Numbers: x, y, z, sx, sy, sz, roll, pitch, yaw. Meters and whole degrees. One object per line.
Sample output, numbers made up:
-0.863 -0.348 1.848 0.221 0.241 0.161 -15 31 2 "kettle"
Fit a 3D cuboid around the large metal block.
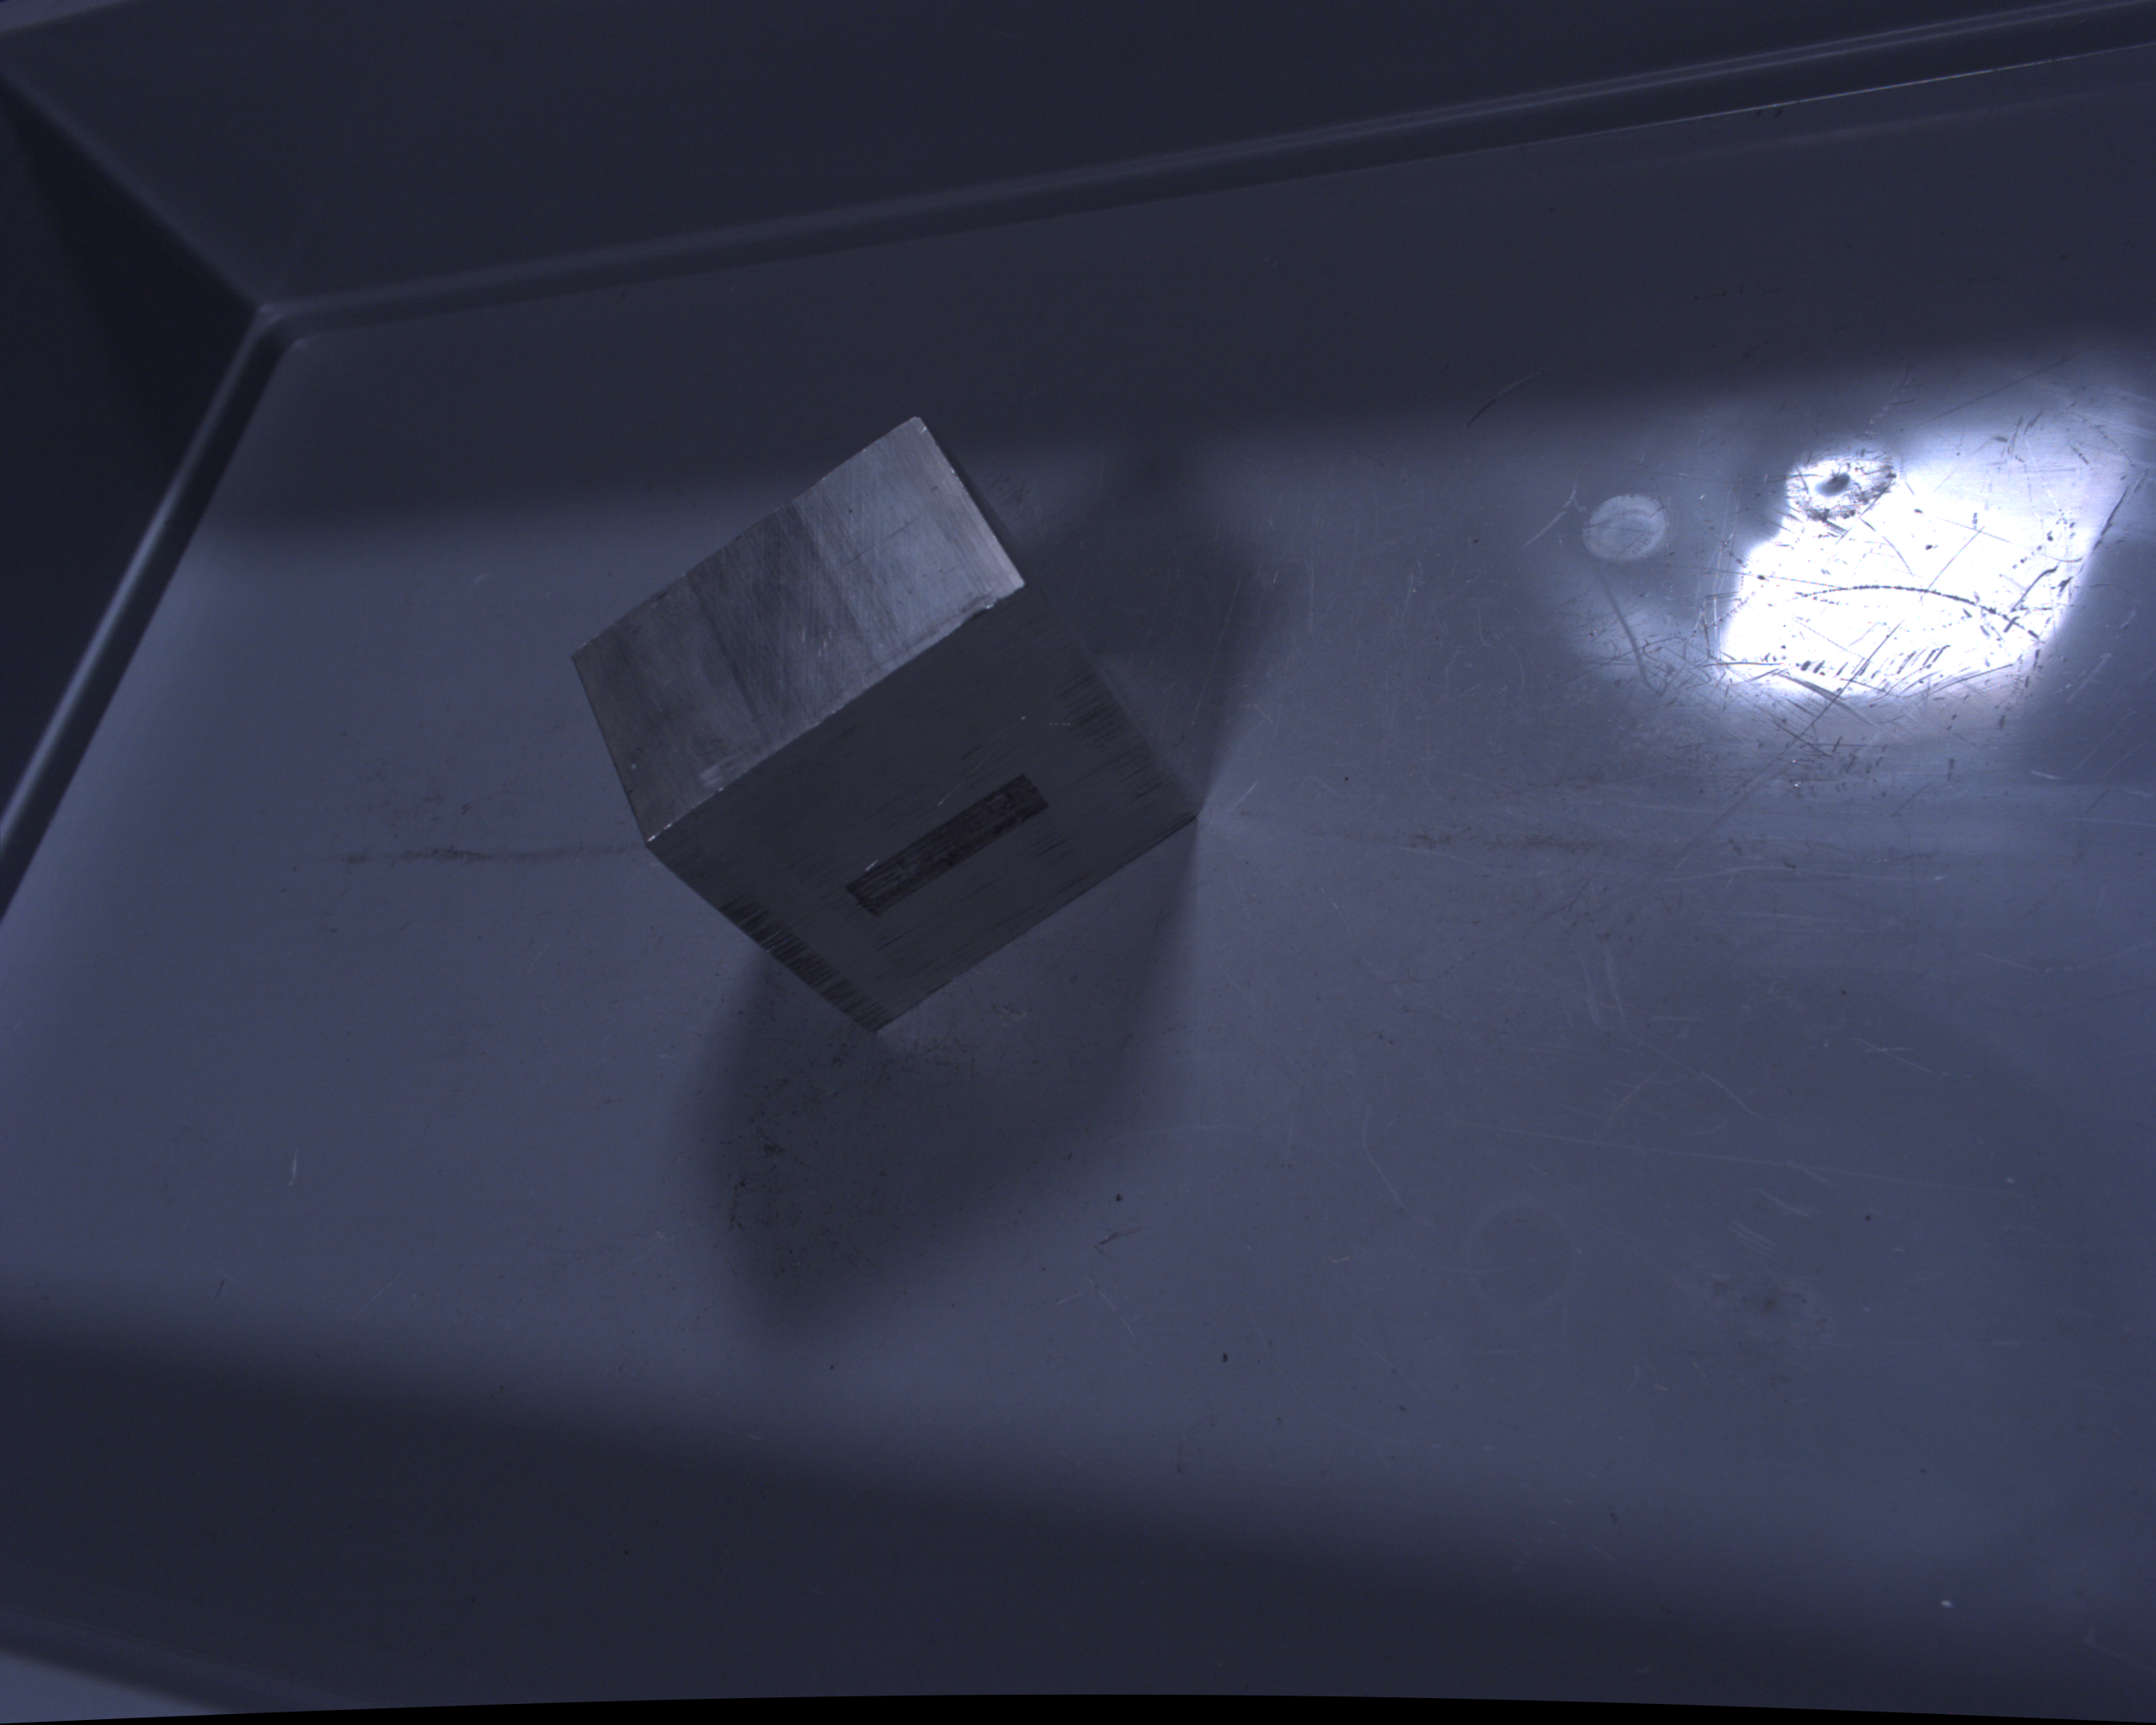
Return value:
-0.035 -0.025 0.399 0.080 0.080 0.050 -34 52 5 "large metal block"
